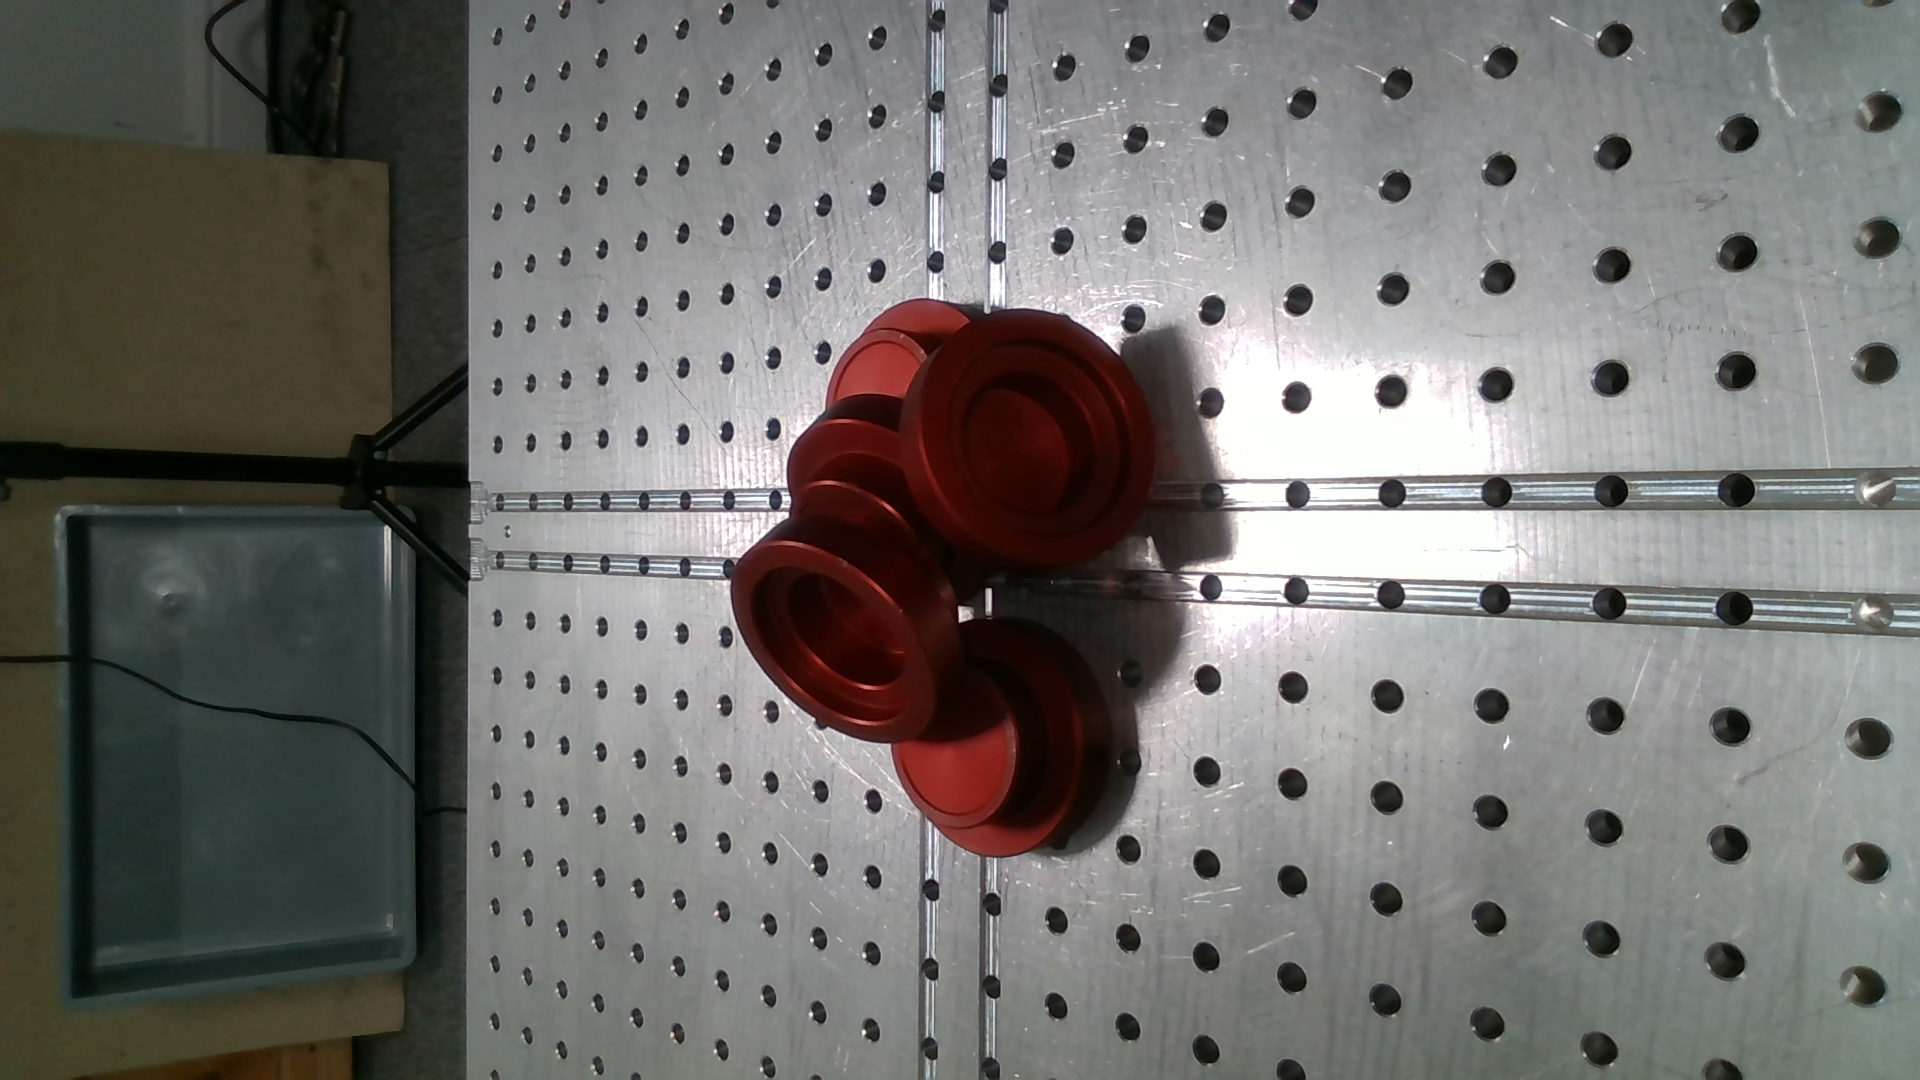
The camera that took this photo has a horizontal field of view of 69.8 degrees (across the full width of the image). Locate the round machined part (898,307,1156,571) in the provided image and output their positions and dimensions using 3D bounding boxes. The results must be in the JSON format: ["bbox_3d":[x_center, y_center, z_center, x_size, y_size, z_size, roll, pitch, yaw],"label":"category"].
[{"bbox_3d":[0.022,-0.035,0.525,0.042,0.098,0.098,154,108,-64],"label":"round machined part"}]

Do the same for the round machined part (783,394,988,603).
[{"bbox_3d":[-0.033,-0.008,0.570,0.098,0.042,0.098,20,137,20],"label":"round machined part"}]

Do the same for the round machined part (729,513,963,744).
[{"bbox_3d":[-0.040,0.030,0.545,0.098,0.042,0.098,22,135,23],"label":"round machined part"}]

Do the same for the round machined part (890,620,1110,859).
[{"bbox_3d":[0.010,0.082,0.566,0.098,0.042,0.098,0,91,40],"label":"round machined part"}]

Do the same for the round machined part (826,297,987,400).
[{"bbox_3d":[-0.020,-0.055,0.590,0.098,0.042,0.098,0,91,40],"label":"round machined part"}]
